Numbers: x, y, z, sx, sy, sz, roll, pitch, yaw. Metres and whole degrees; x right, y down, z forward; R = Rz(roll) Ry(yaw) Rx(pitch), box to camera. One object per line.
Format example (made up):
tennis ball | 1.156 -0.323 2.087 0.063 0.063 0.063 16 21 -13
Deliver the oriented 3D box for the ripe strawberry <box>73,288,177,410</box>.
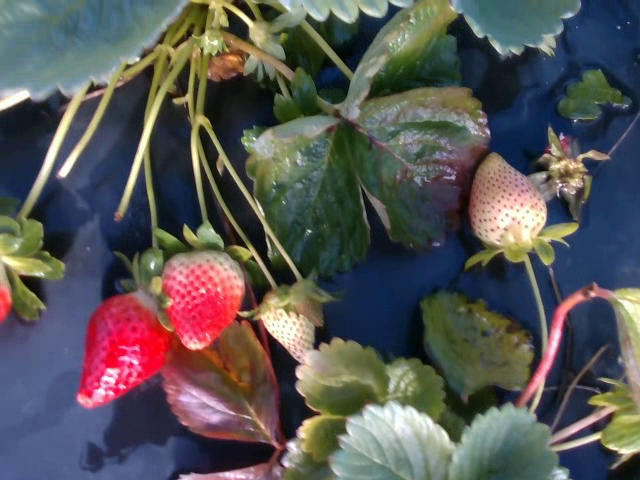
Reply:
ripe strawberry | -0.092 0.050 0.264 0.044 0.055 0.042 1 -43 37
